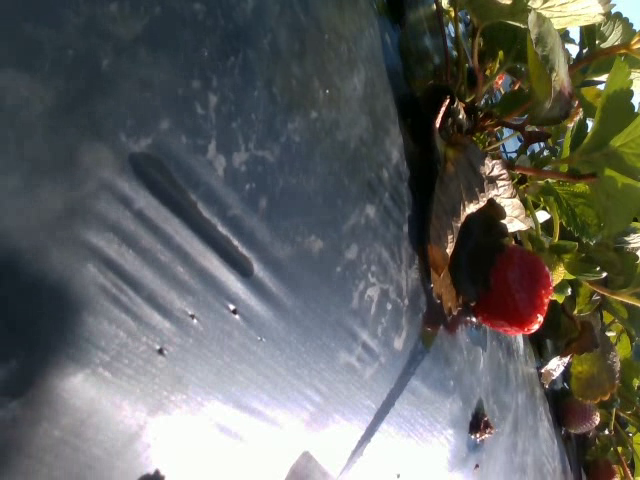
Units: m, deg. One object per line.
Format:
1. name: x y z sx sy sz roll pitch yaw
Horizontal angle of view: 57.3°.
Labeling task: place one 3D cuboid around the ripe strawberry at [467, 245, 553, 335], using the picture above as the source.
1. ripe strawberry: 0.072 0.025 0.214 0.037 0.047 0.054 -7 28 11
